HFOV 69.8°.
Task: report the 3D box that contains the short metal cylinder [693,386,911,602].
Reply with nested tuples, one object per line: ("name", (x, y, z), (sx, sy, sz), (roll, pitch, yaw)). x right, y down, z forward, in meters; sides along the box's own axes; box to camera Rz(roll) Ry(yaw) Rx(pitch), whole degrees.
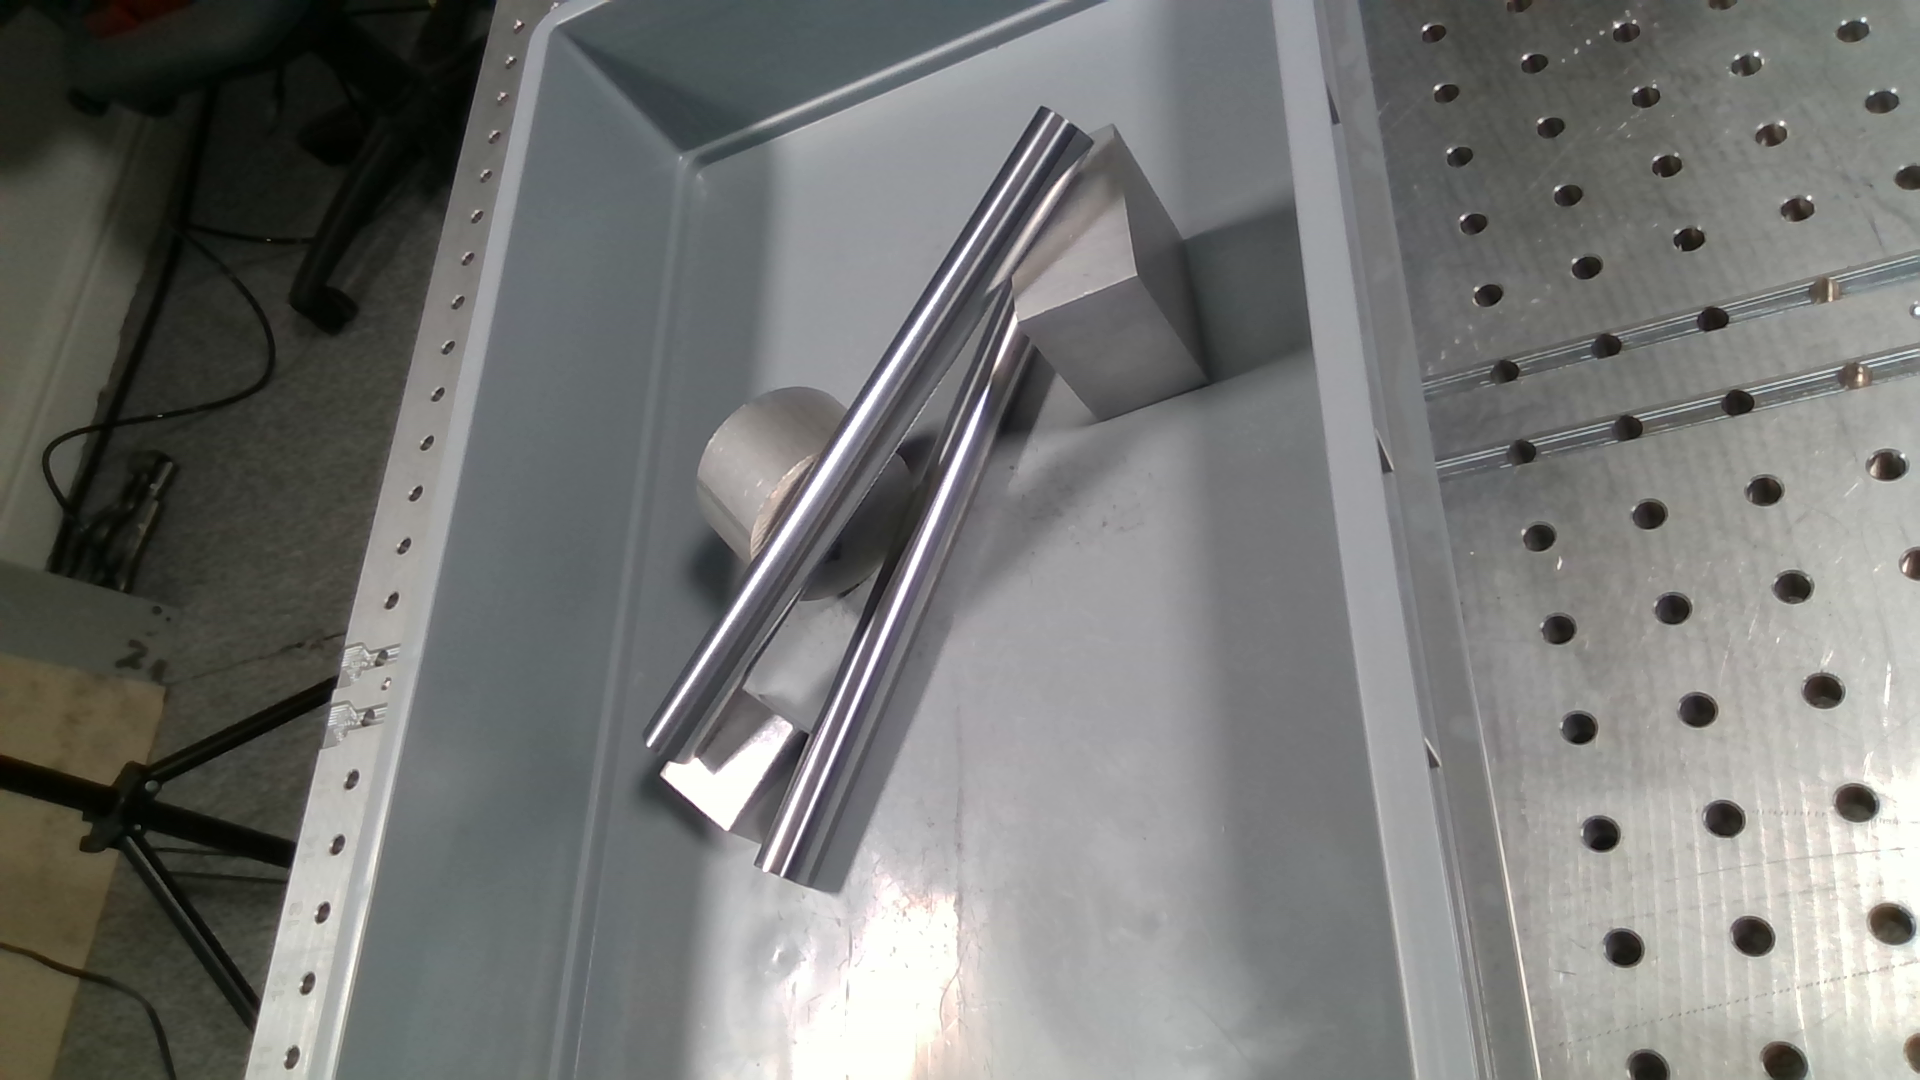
("short metal cylinder", (-0.069, -0.020, 0.601), (0.080, 0.080, 0.050), (-48, 51, 1))

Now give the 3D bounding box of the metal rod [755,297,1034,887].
("metal rod", (-0.016, 0.002, 0.593), (0.025, 0.025, 0.299), (12, 73, 36))

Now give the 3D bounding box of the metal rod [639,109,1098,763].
("metal rod", (-0.041, -0.035, 0.553), (0.025, 0.025, 0.300), (43, 104, 39))

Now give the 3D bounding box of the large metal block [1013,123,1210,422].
("large metal block", (0.060, -0.108, 0.570), (0.050, 0.080, 0.080), (-18, 57, 23))

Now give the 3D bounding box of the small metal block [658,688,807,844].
("small metal block", (-0.094, 0.094, 0.592), (0.050, 0.025, 0.050), (28, 82, 38))
